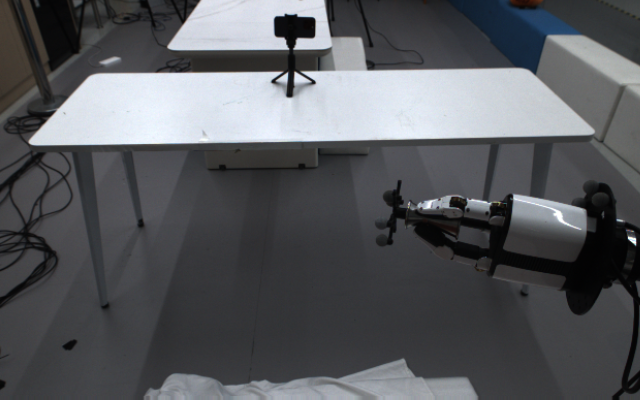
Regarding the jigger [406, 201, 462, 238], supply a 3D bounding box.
[{"bbox_3d":[0.154,0.019,0.629,0.071,0.043,0.043,9,35,16],"label":"jigger"}]
